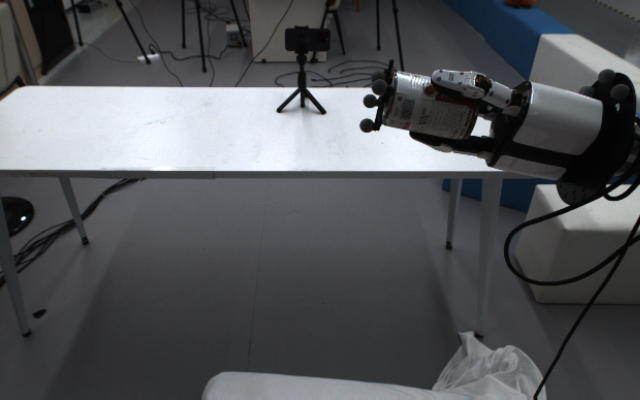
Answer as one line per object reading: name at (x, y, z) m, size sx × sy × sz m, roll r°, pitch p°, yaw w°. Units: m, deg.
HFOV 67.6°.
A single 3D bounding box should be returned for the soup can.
soup can at (0.132, -0.114, 0.580) m, size 0.101 × 0.067 × 0.067 m, roll 11°, pitch 35°, yaw -2°
